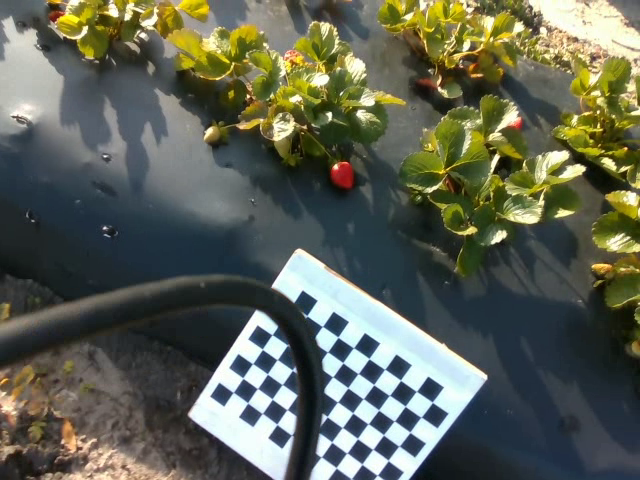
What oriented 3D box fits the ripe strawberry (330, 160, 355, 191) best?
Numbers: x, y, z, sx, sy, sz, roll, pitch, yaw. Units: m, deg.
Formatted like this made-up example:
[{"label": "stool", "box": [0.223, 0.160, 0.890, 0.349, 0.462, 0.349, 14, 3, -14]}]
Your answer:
[{"label": "ripe strawberry", "box": [0.030, -0.078, 0.751, 0.030, 0.045, 0.033, -27, -30, 15]}]
